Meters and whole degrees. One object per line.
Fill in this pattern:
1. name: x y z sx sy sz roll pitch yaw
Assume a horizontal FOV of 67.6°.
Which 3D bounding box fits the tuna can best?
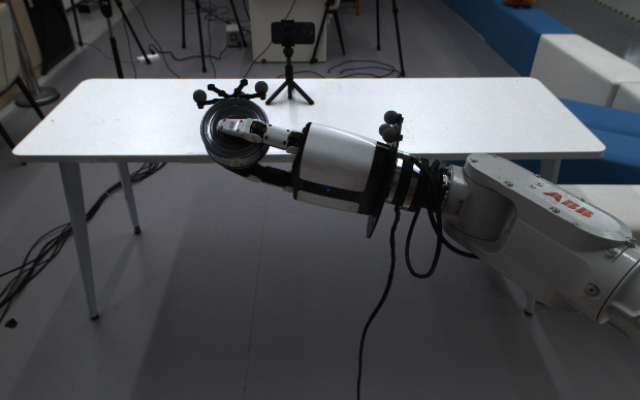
1. tuna can: -0.101 -0.079 0.606 0.085 0.034 0.085 0 72 -1
